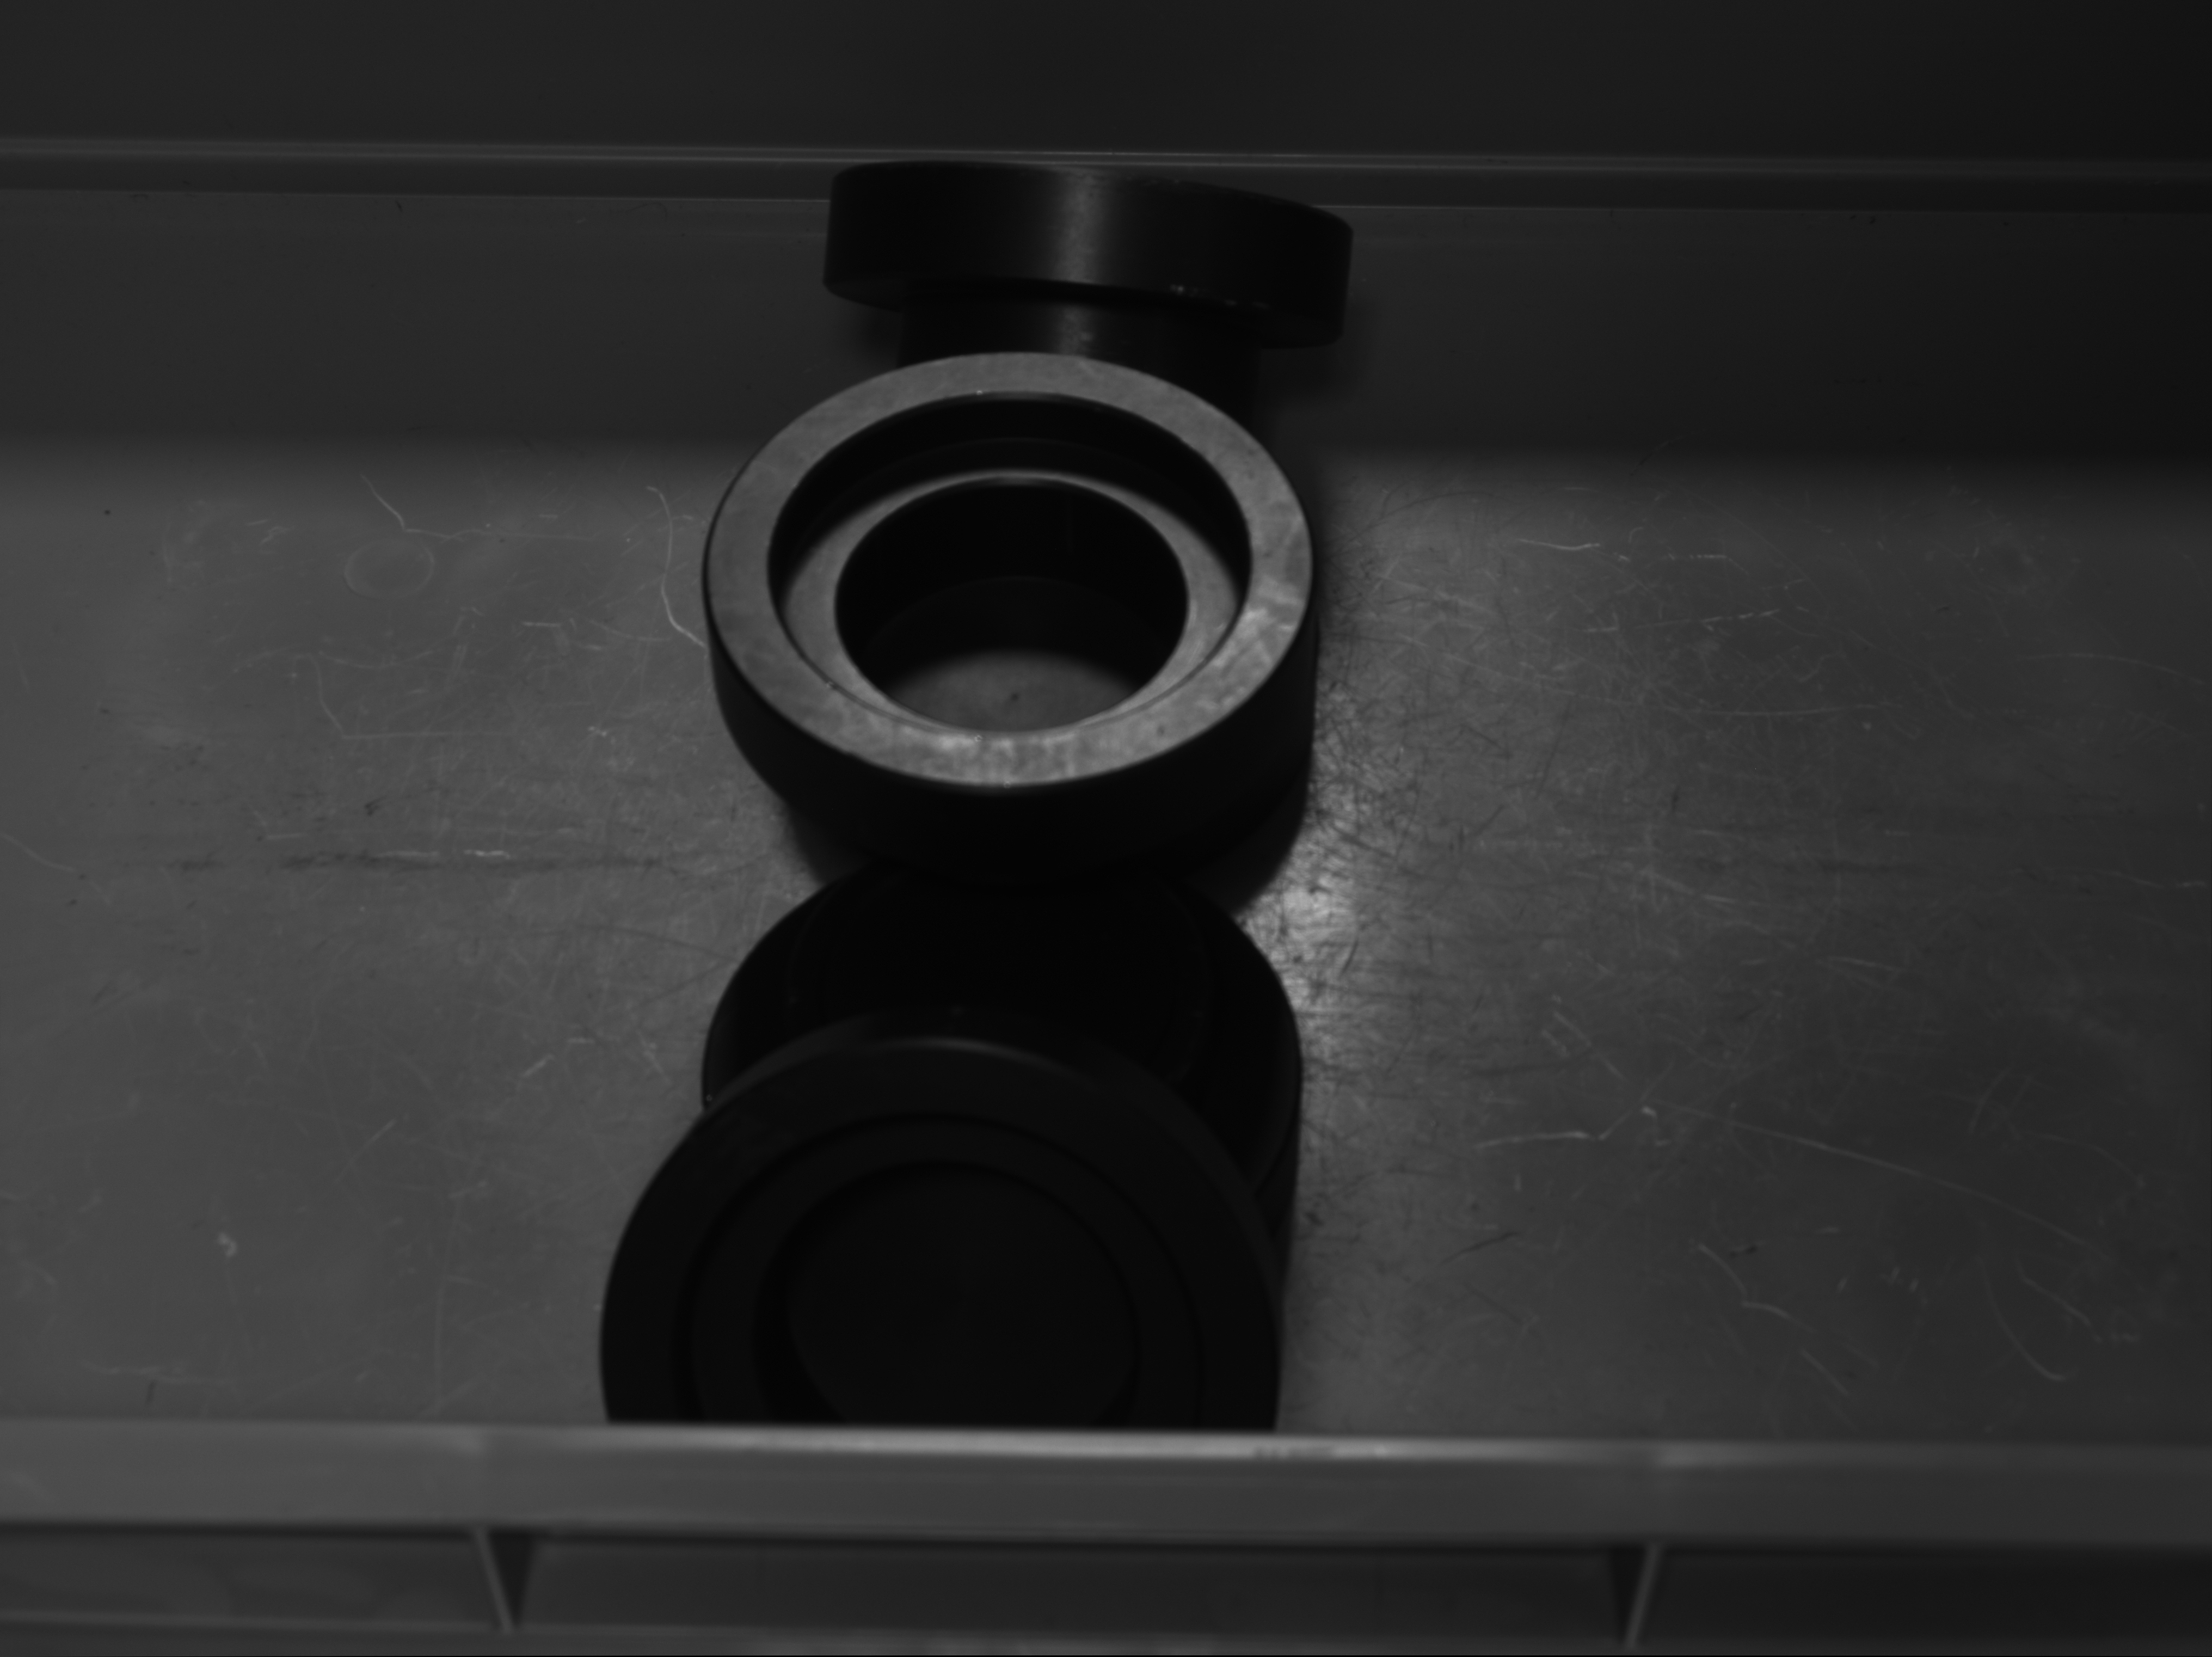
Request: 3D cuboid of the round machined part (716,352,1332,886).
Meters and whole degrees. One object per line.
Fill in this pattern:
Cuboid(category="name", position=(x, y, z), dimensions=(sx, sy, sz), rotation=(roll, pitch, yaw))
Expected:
Cuboid(category="round machined part", position=(-0.013, -0.030, 0.598), dimensions=(0.098, 0.042, 0.098), rotation=(0, 50, 0))

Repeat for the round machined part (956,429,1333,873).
Cuboid(category="round machined part", position=(-0.008, -0.037, 0.660), dimensions=(0.098, 0.042, 0.098), rotation=(0, 50, 0))

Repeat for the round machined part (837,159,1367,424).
Cuboid(category="round machined part", position=(-0.002, -0.096, 0.687), dimensions=(0.098, 0.098, 0.042), rotation=(5, 92, 5))

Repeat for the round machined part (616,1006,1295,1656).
Cuboid(category="round machined part", position=(-0.020, 0.073, 0.544), dimensions=(0.098, 0.098, 0.042), rotation=(5, 12, 4))

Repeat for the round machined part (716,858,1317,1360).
Cuboid(category="round machined part", position=(-0.014, 0.038, 0.596), dimensions=(0.098, 0.042, 0.098), rotation=(0, 50, 0))
